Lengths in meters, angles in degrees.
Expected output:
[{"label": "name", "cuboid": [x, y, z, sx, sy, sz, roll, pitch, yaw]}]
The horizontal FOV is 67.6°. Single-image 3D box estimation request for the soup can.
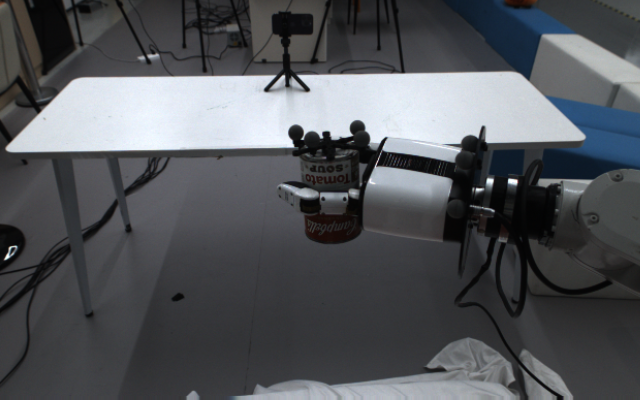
[{"label": "soup can", "cuboid": [0.015, -0.010, 0.550, 0.067, 0.101, 0.067, -4, 25, 2]}]
